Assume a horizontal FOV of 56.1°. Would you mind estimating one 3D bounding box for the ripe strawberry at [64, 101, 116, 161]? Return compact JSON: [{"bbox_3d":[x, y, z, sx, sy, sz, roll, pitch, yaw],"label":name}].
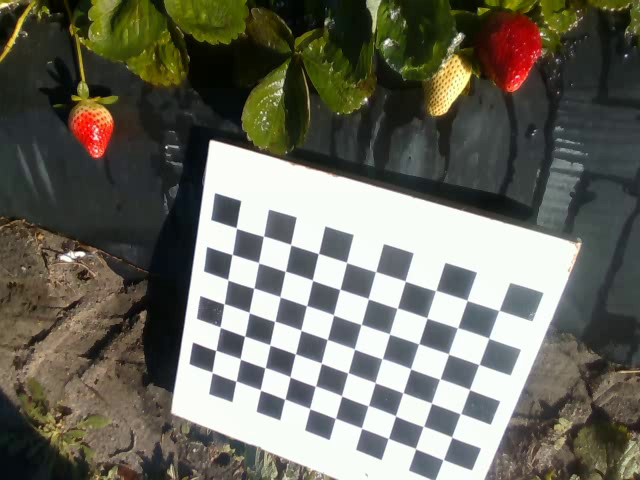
[{"bbox_3d":[-0.185,-0.090,0.492,0.039,0.053,0.040,-4,0,19],"label":"ripe strawberry"}]
